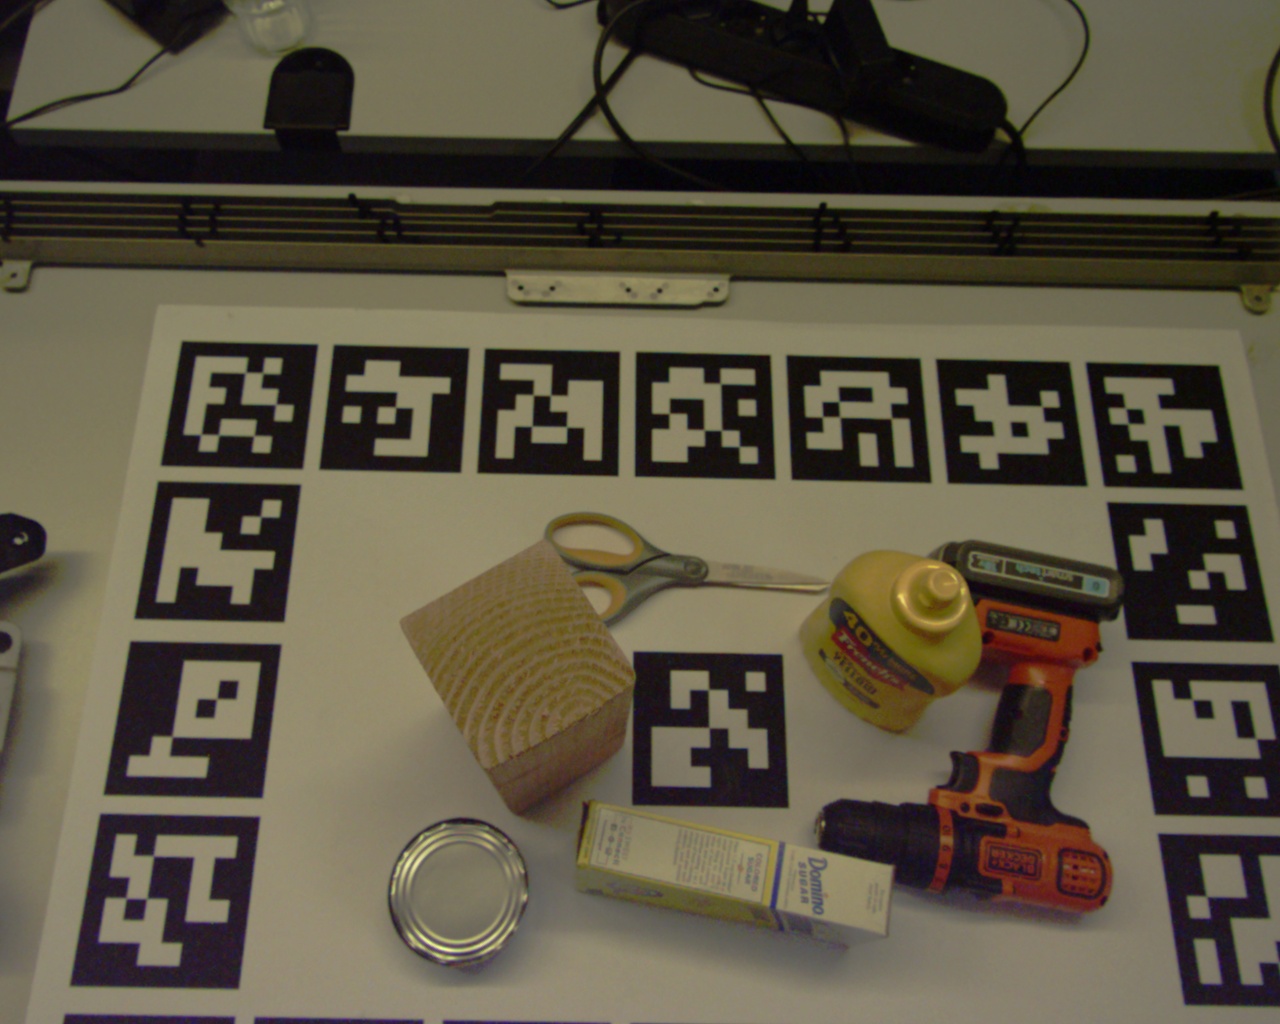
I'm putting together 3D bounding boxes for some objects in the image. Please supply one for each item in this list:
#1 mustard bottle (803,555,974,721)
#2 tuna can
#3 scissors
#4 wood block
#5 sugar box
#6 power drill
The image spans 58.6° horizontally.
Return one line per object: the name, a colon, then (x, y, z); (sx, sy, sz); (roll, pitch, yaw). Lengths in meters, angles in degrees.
mustard bottle: (0.159, 0.075, 0.713); (0.058, 0.191, 0.097); (-39, 77, -13)
tuna can: (-0.103, 0.234, 0.724); (0.085, 0.033, 0.086); (0, 71, -2)
scissors: (0.016, 0.042, 0.806); (0.203, 0.016, 0.088); (2, 67, 0)
wood block: (-0.060, 0.108, 0.692); (0.090, 0.206, 0.090); (-27, 75, -11)
sugar box: (0.063, 0.219, 0.706); (0.176, 0.093, 0.045); (12, 67, 1)
power drill: (0.204, 0.143, 0.752); (0.185, 0.057, 0.187); (13, 78, 4)
